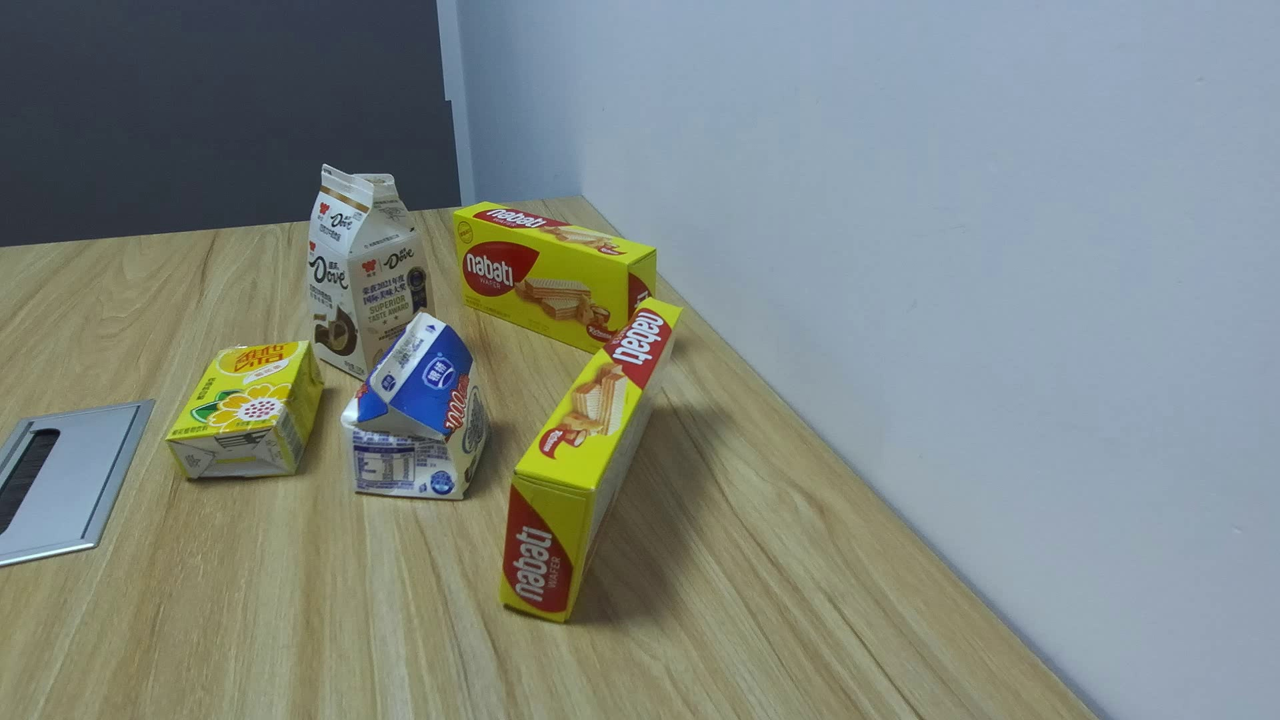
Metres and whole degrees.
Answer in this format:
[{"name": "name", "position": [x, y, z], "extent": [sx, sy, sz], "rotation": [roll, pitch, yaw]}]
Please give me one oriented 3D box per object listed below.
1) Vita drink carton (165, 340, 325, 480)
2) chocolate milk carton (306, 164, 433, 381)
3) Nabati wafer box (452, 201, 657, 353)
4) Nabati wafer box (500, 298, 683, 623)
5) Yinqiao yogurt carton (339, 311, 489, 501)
[{"name": "Vita drink carton", "position": [-0.265, 0.034, 0.477], "extent": [0.076, 0.043, 0.108], "rotation": [-7, 32, -8]}, {"name": "chocolate milk carton", "position": [-0.216, -0.071, 0.551], "extent": [0.084, 0.155, 0.073], "rotation": [21, 35, 30]}, {"name": "Nabati wafer box", "position": [-0.077, -0.070, 0.616], "extent": [0.202, 0.093, 0.042], "rotation": [21, 35, 31]}, {"name": "Nabati wafer box", "position": [-0.023, 0.044, 0.419], "extent": [0.042, 0.096, 0.203], "rotation": [16, 33, 7]}, {"name": "Yinqiao yogurt carton", "position": [-0.141, 0.025, 0.449], "extent": [0.077, 0.093, 0.083], "rotation": [3, 30, 3]}]
